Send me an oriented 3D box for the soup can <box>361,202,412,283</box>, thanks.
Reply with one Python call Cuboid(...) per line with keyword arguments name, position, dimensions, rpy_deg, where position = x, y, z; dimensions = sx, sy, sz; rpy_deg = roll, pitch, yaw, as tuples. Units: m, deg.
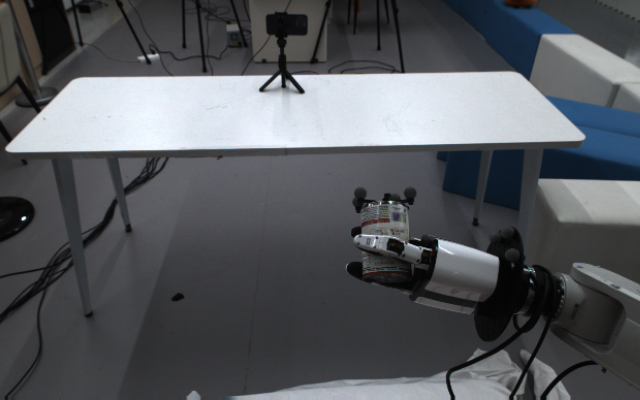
Cuboid(name="soup can", position=(0.091, 0.059, 0.664), dimensions=(0.067, 0.067, 0.101), rpy_deg=(1, 73, -2))
